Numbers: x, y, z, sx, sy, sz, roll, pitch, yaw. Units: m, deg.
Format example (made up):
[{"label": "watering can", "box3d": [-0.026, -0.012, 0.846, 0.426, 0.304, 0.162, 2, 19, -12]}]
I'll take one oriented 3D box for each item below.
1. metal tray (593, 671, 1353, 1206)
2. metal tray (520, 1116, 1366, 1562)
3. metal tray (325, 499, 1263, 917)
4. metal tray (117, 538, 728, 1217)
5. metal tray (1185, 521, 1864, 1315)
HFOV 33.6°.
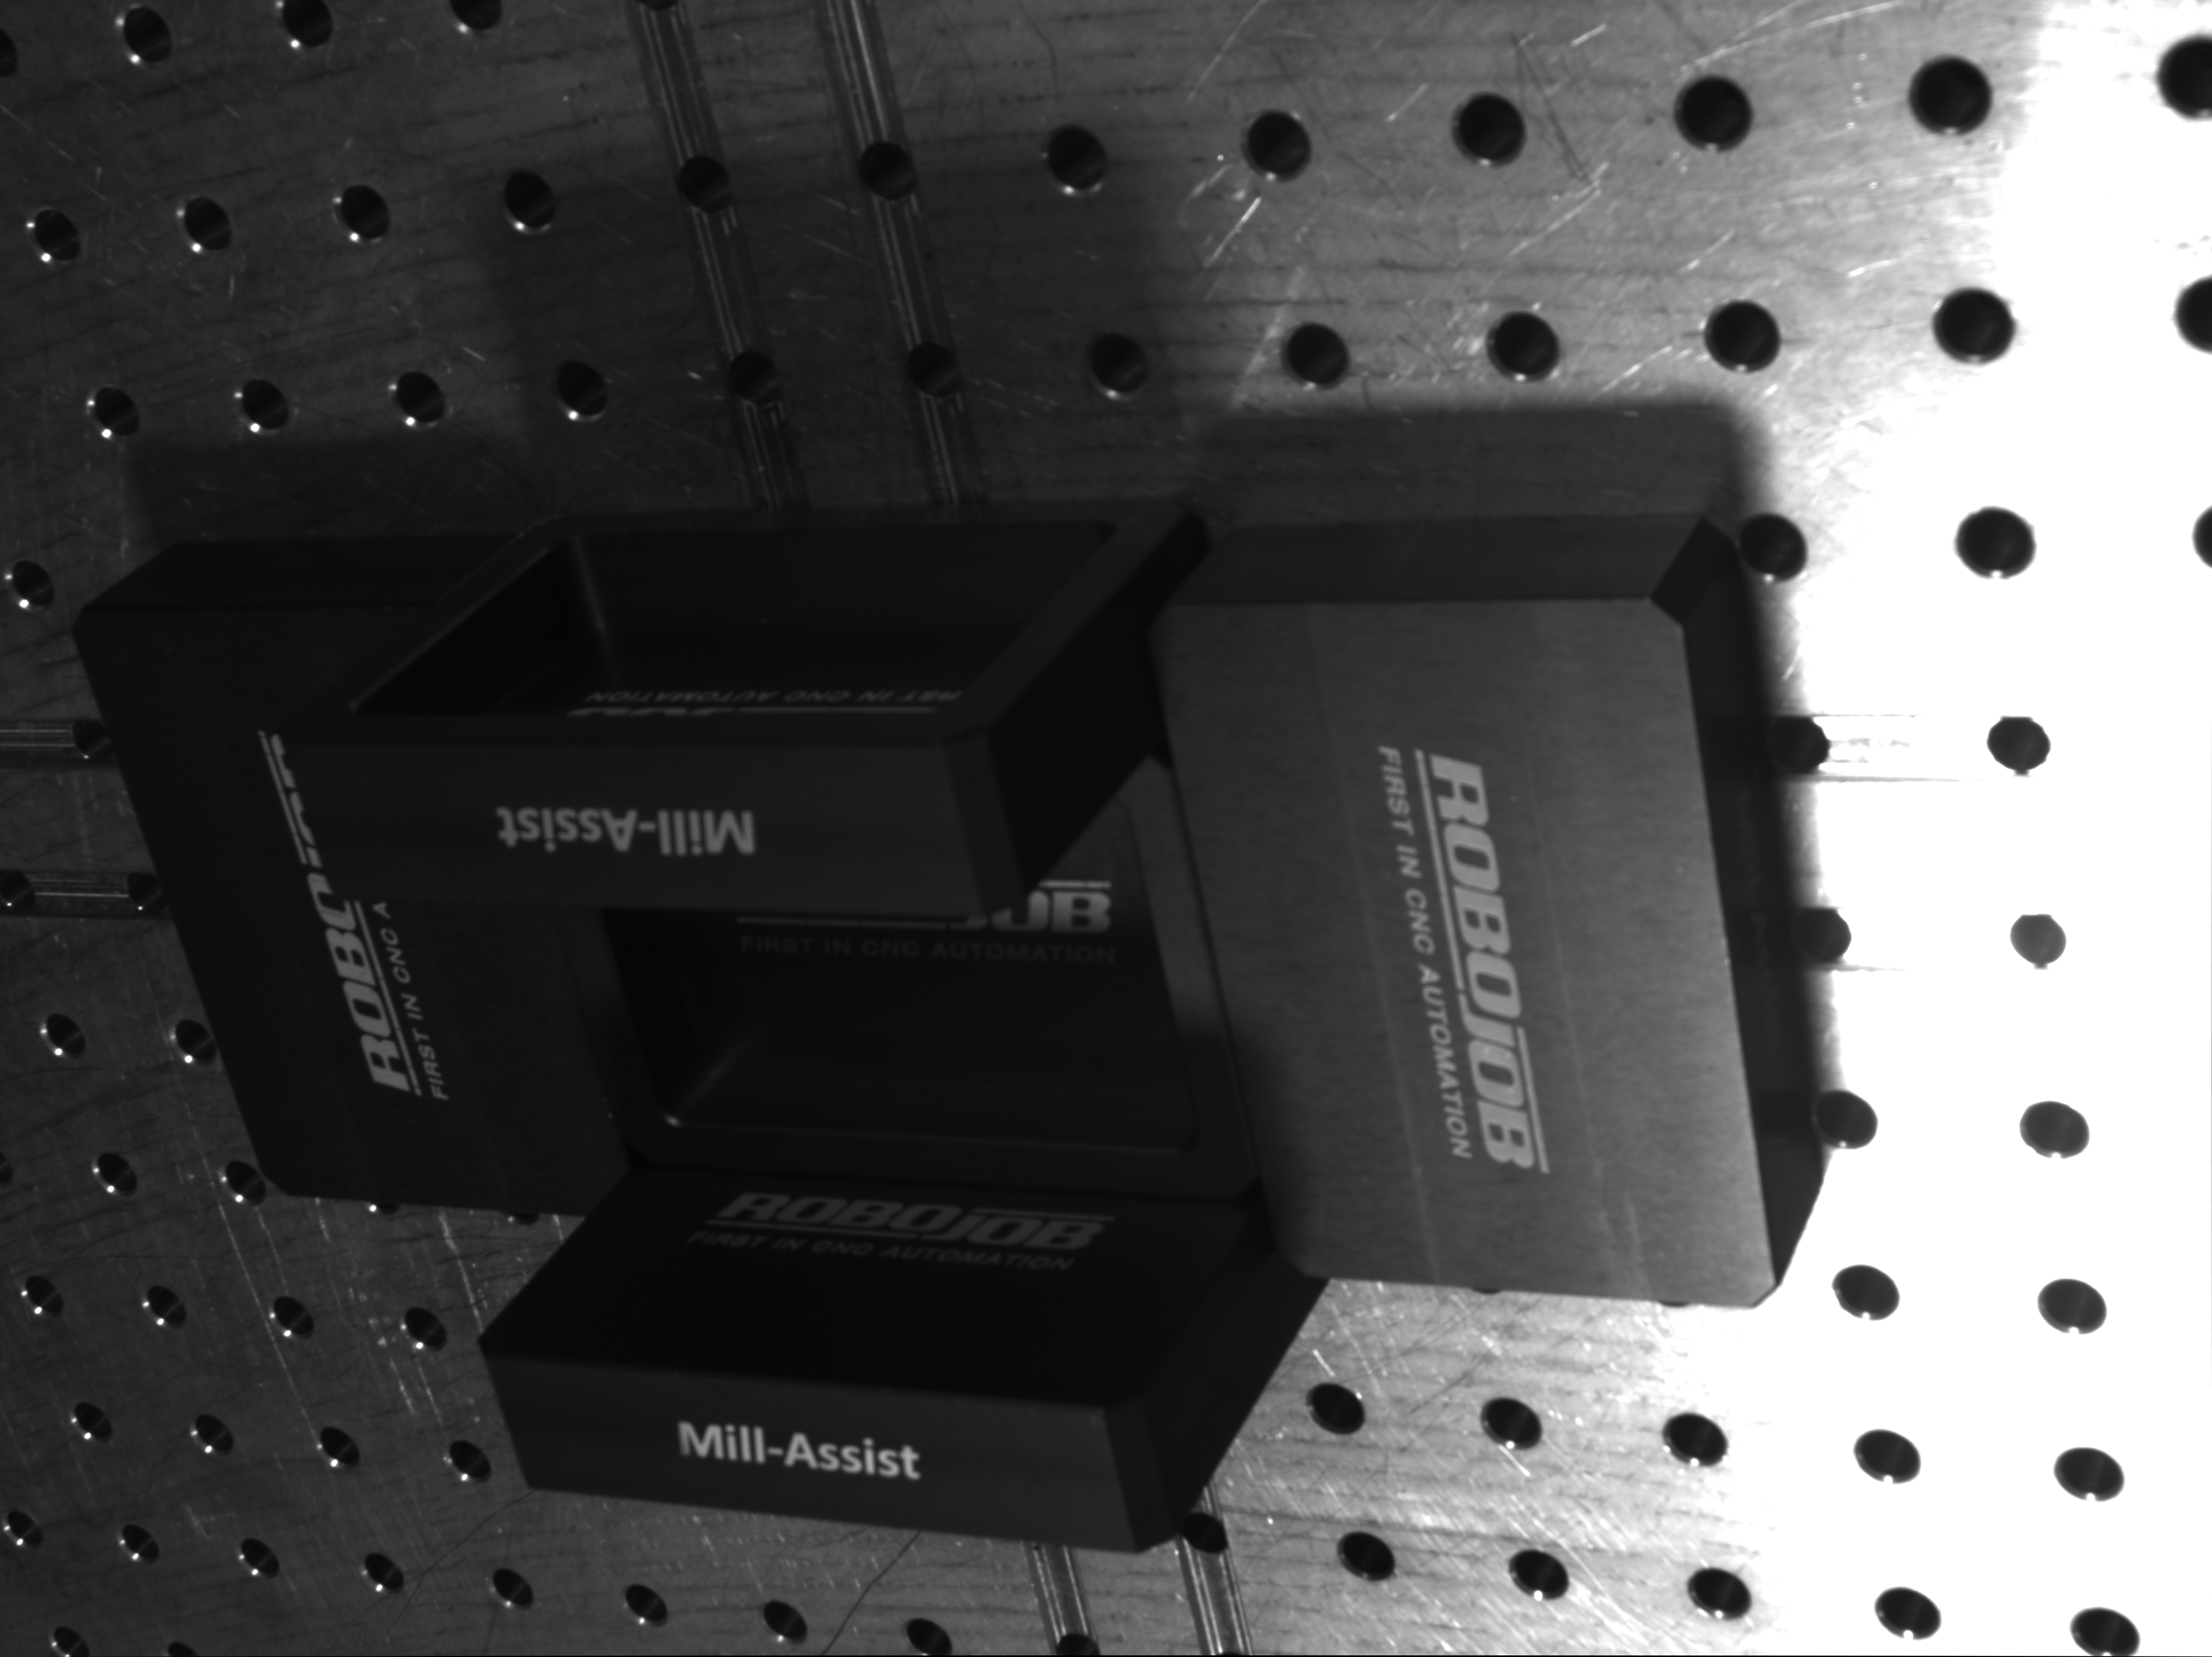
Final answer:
[{"label": "metal tray", "box3d": [-0.027, 0.019, 0.653, 0.130, 0.030, 0.090, 1, 119, 26]}, {"label": "metal tray", "box3d": [-0.027, 0.086, 0.656, 0.130, 0.090, 0.030, 1, 118, 26]}, {"label": "metal tray", "box3d": [-0.050, -0.021, 0.605, 0.130, 0.090, 0.030, 1, 118, 26]}, {"label": "metal tray", "box3d": [-0.127, 0.010, 0.700, 0.090, 0.030, 0.130, 1, 119, 26]}, {"label": "metal tray", "box3d": [0.071, 0.016, 0.603, 0.090, 0.030, 0.130, 0, 118, 25]}]
